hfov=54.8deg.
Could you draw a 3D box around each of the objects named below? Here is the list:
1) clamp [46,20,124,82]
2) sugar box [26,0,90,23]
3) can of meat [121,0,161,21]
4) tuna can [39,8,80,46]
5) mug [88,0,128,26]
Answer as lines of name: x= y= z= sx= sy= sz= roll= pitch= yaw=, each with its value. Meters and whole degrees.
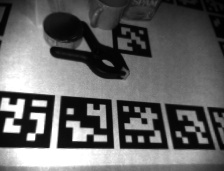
clamp: x=-0.043 y=-0.067 z=0.476 sx=0.165 sy=0.036 sz=0.122 roll=40 pitch=54 yaw=0
sugar box: x=-0.108 y=-0.214 z=0.500 sx=0.178 sy=0.092 sz=0.045 roll=-30 pitch=73 yaw=-30
can of meat: x=0.078 y=-0.220 z=0.569 sx=0.103 sy=0.083 sz=0.057 roll=0 pitch=62 yaw=-19
tuna can: x=-0.117 y=-0.127 z=0.478 sx=0.086 sy=0.033 sz=0.085 roll=7 pitch=63 yaw=-14
mug: x=-0.017 y=-0.191 z=0.514 sx=0.093 sy=0.081 sz=0.117 roll=29 pitch=60 yaw=-1
